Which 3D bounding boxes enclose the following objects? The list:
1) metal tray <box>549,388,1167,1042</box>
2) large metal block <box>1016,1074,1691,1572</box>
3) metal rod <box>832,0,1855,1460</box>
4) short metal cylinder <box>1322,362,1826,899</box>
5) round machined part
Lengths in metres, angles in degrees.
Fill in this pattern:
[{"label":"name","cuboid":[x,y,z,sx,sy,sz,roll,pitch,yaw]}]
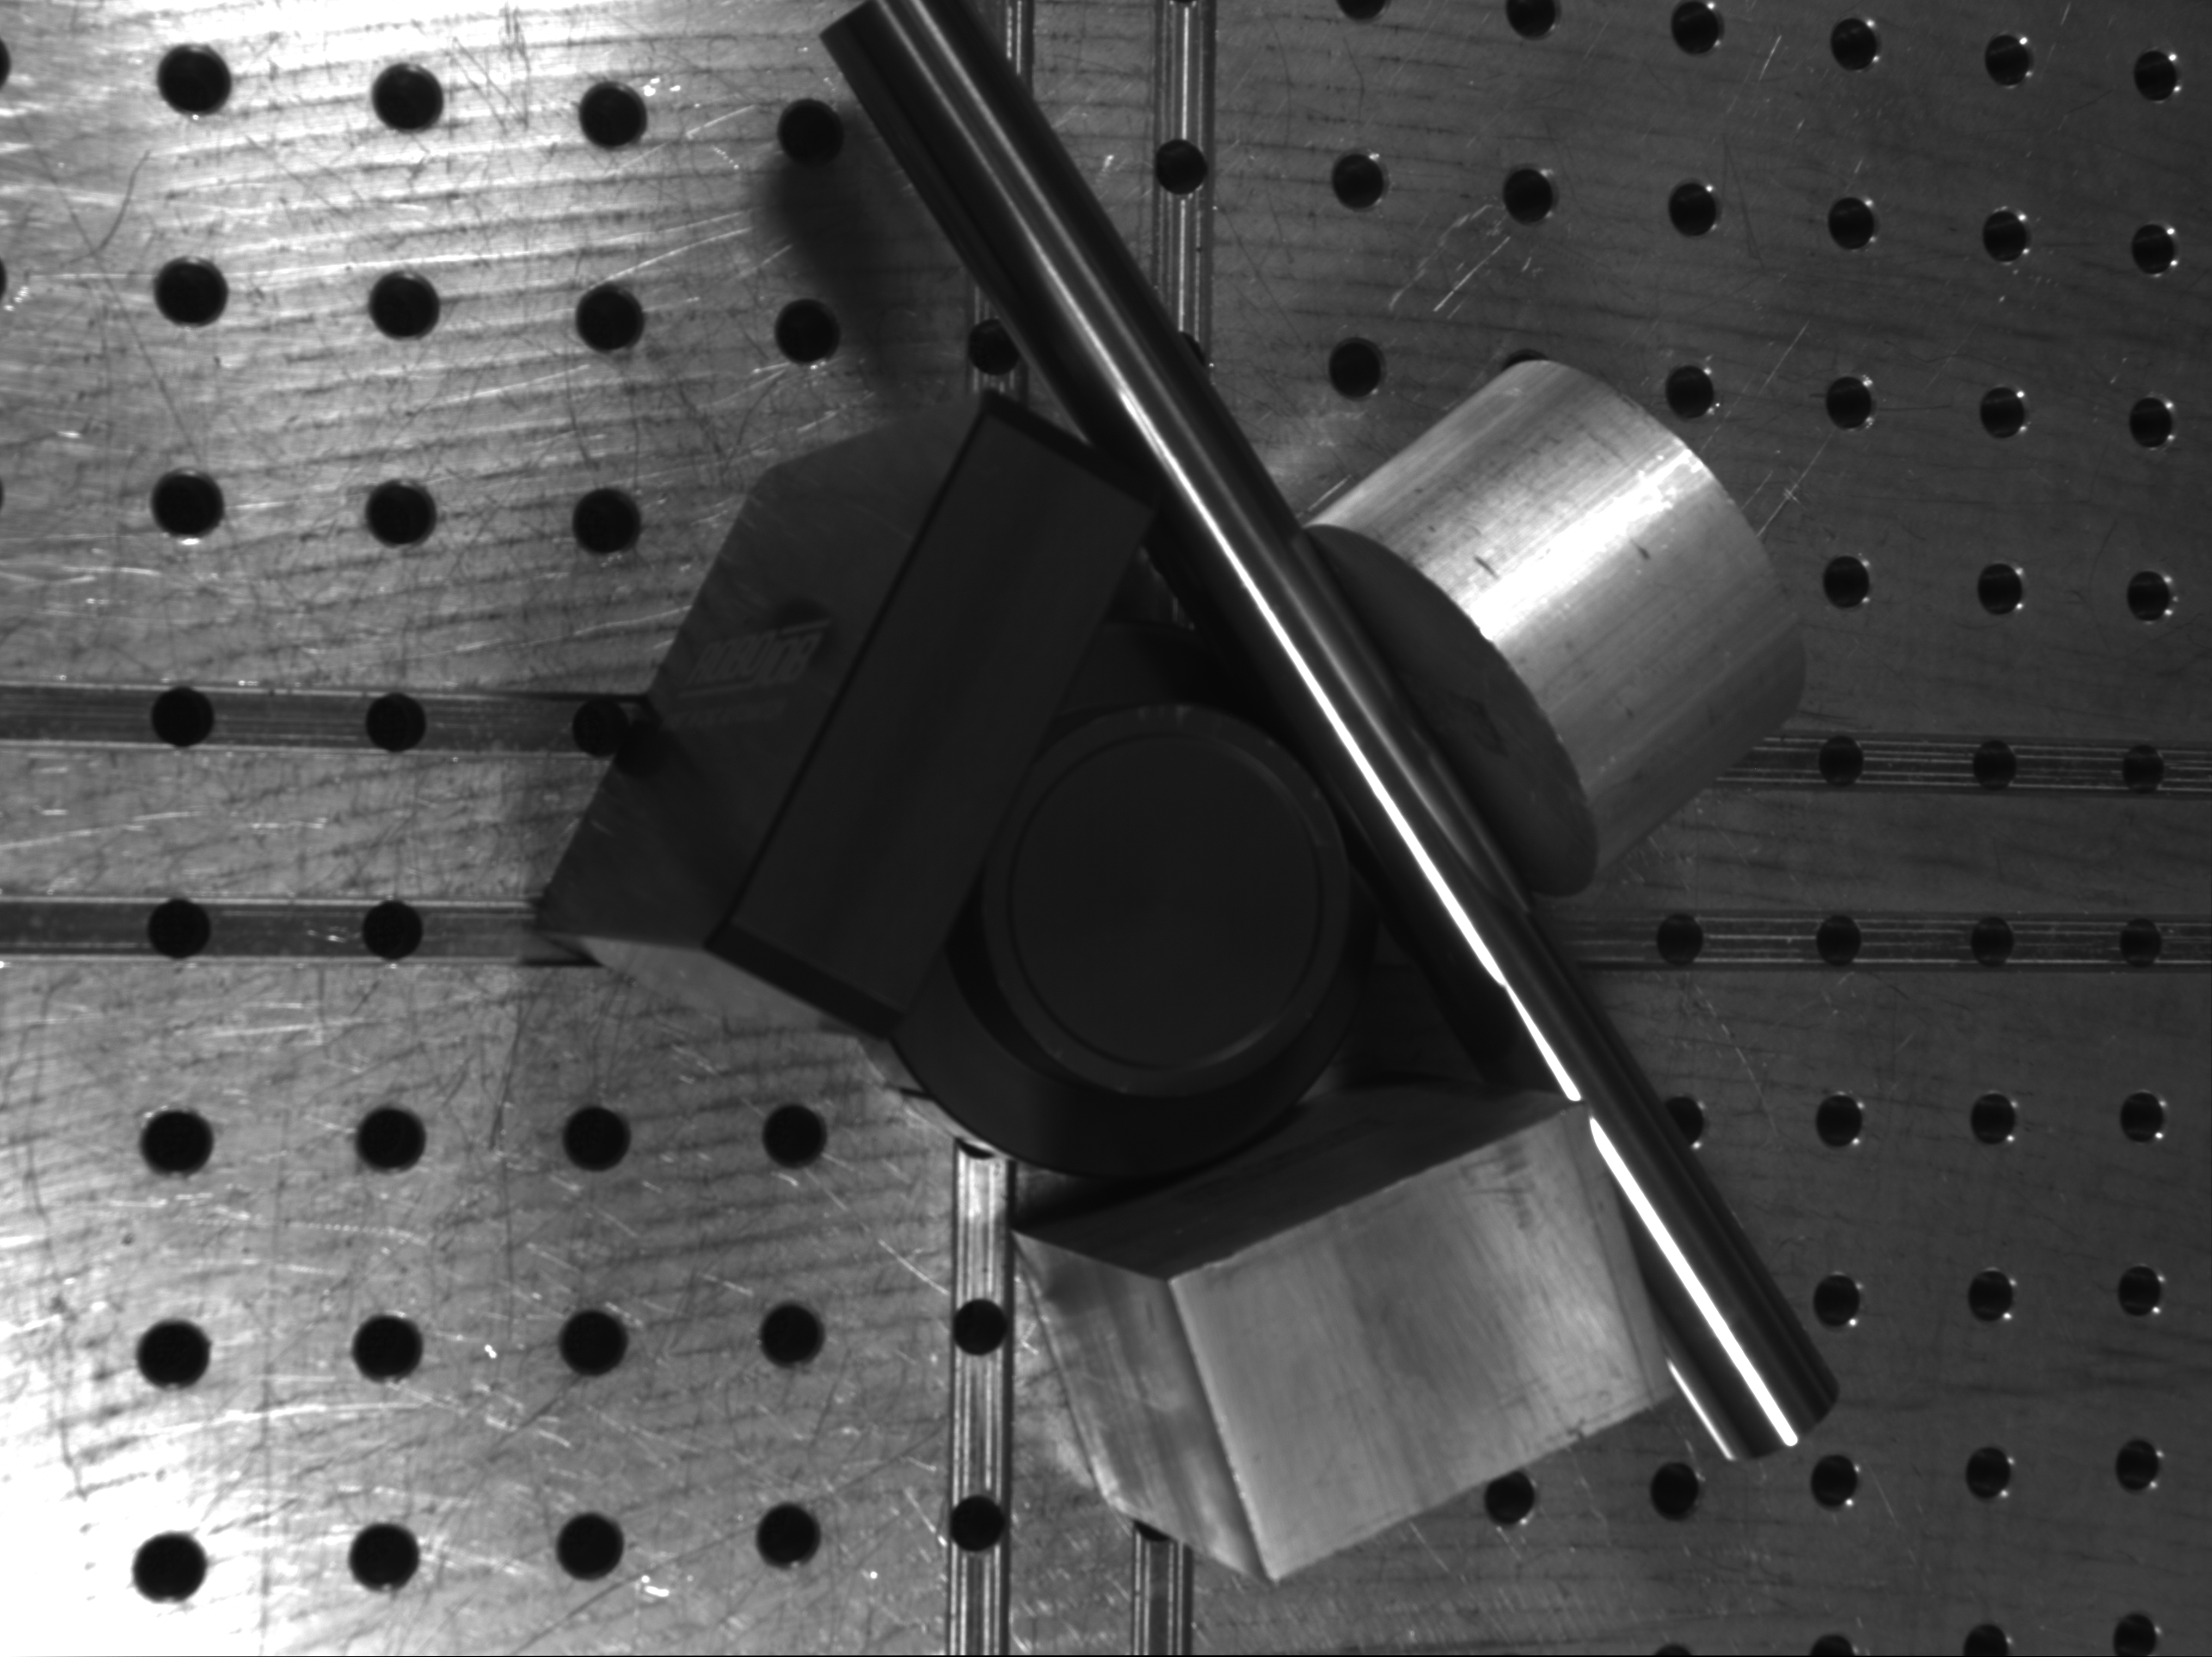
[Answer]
[{"label":"metal tray","cuboid":[-0.043,-0.016,0.575,0.030,0.130,0.090,29,80,-17]},{"label":"large metal block","cuboid":[0.041,0.082,0.631,0.080,0.080,0.050,-20,97,-19]},{"label":"metal rod","cuboid":[0.045,-0.016,0.640,0.025,0.025,0.300,-36,102,-16]},{"label":"short metal cylinder","cuboid":[0.080,-0.035,0.644,0.050,0.080,0.080,-38,102,-16]},{"label":"round machined part","cuboid":[0.006,0.013,0.639,0.098,0.042,0.098,0,90,-20]}]
